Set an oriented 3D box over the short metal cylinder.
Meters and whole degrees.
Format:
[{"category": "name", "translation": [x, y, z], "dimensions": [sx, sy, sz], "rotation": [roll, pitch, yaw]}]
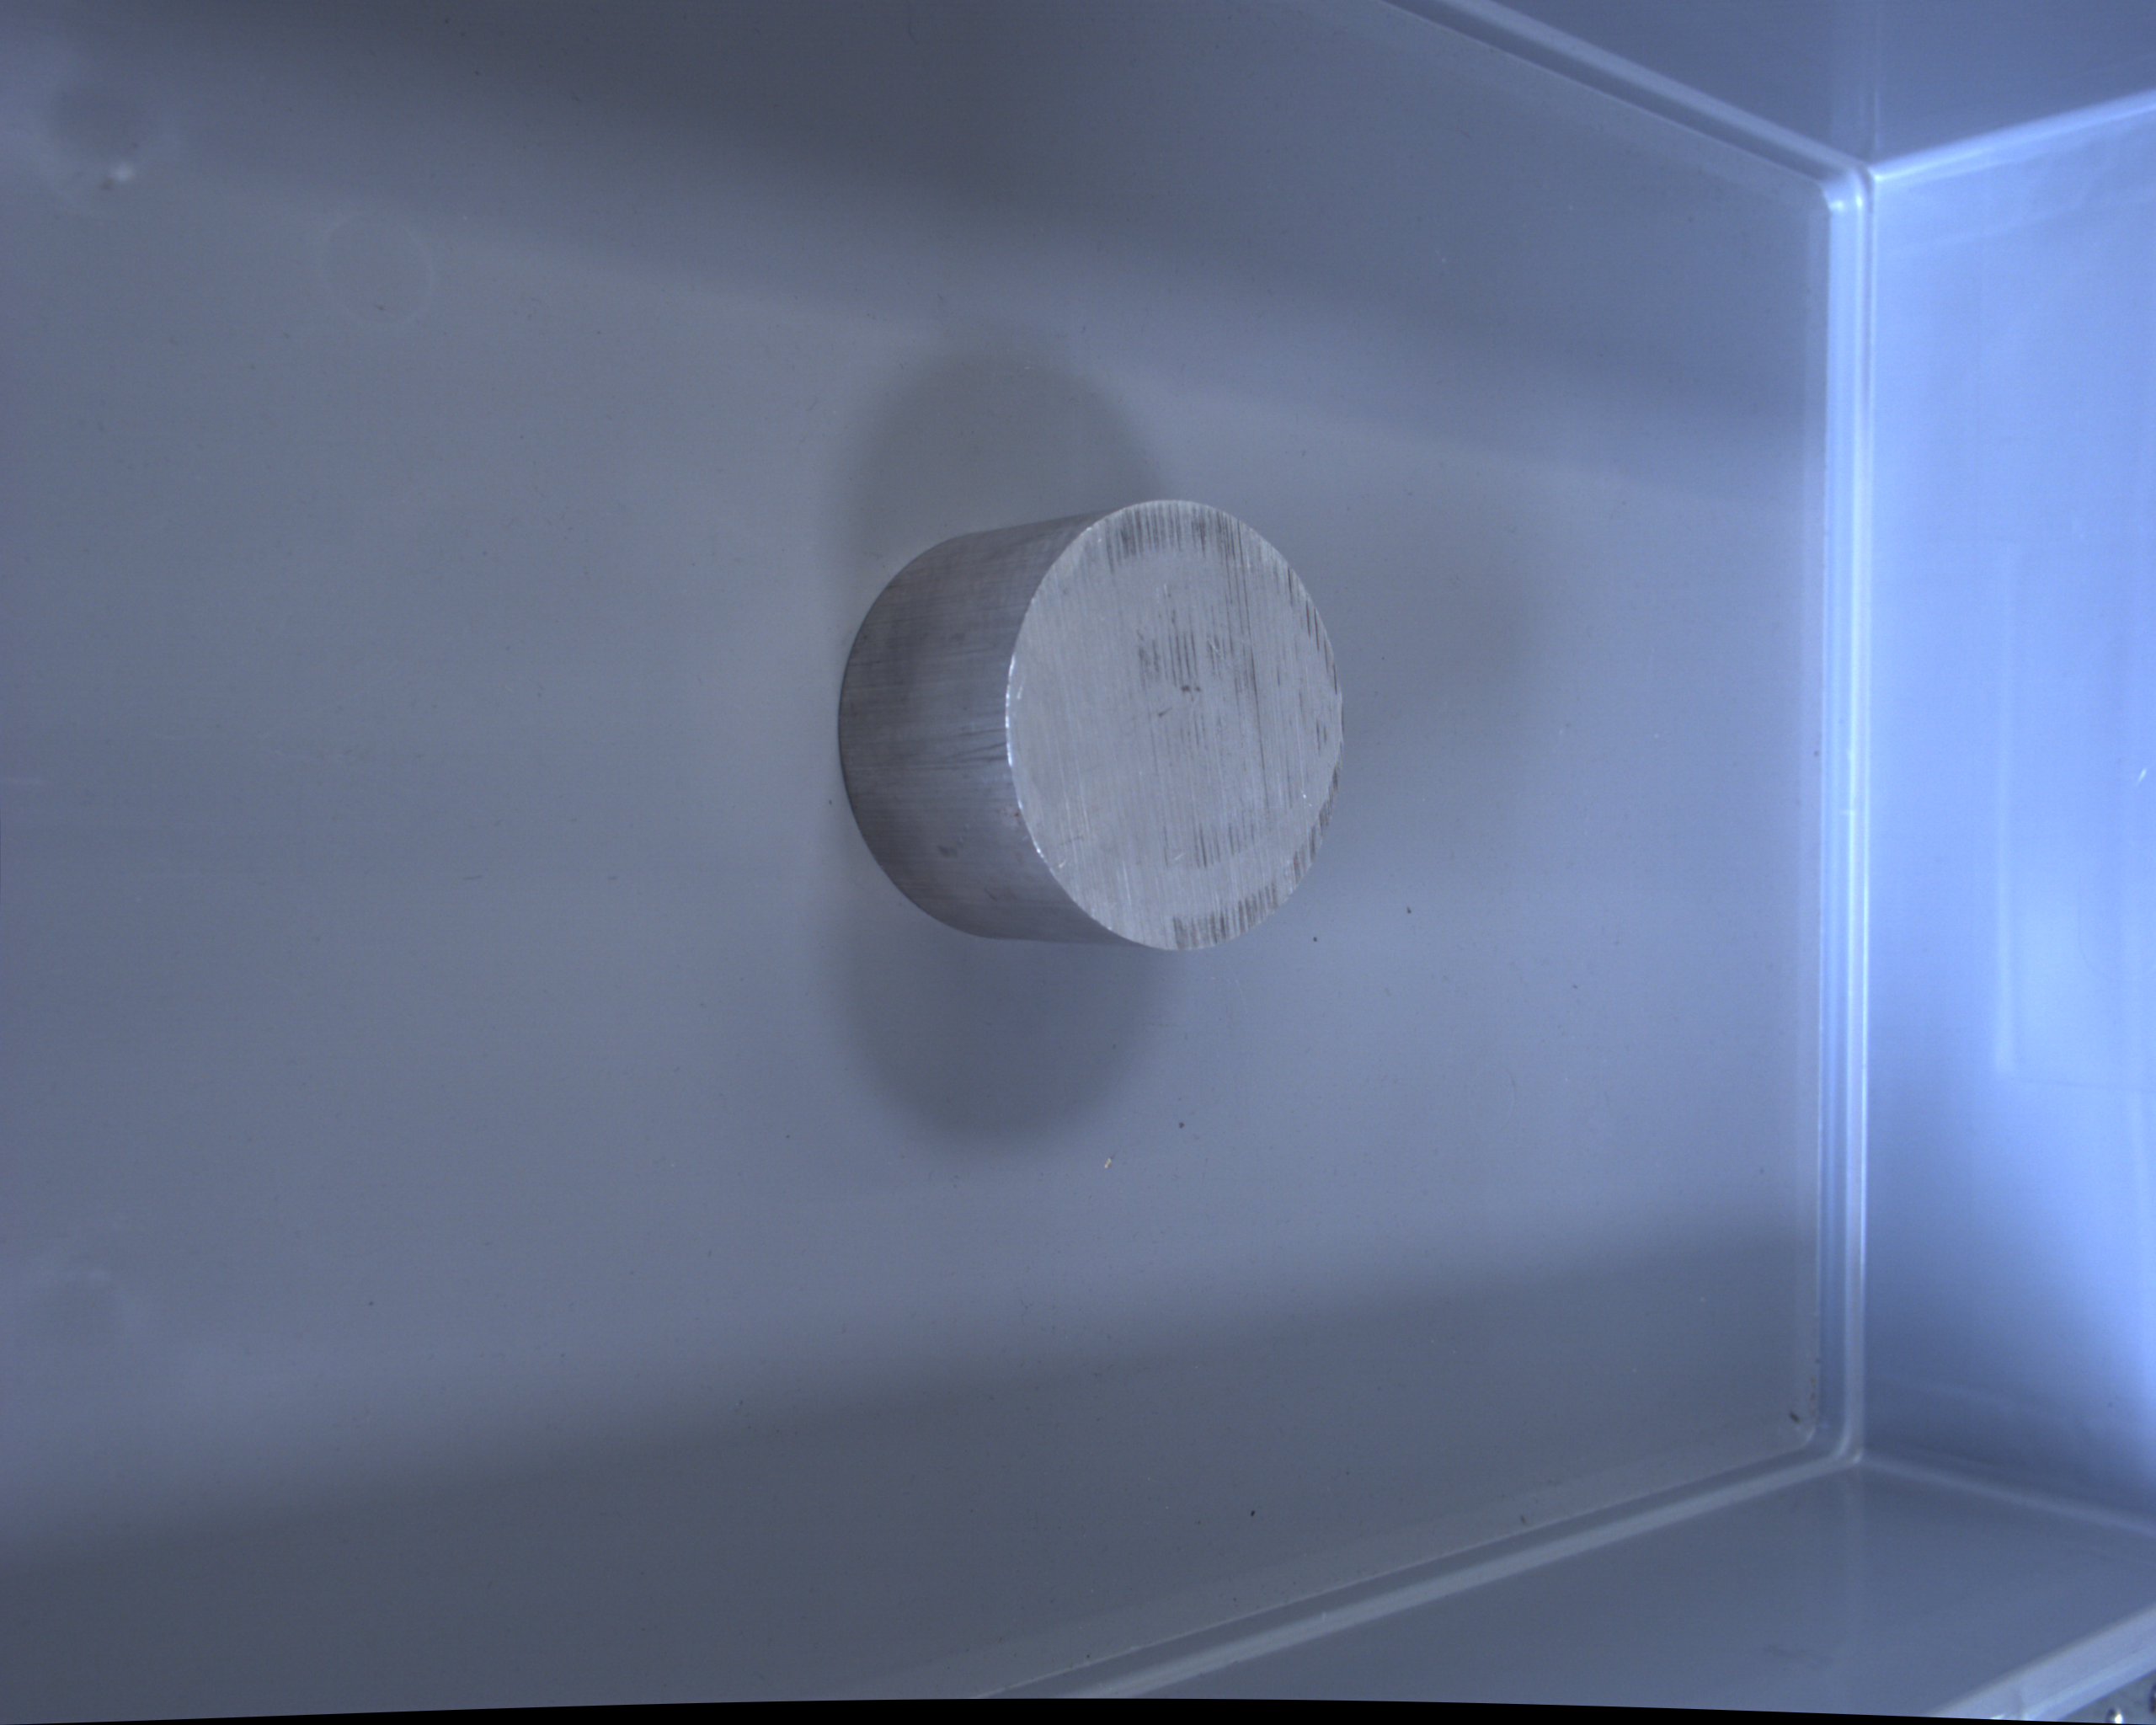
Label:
[{"category": "short metal cylinder", "translation": [0.003, -0.024, 0.389], "dimensions": [0.081, 0.050, 0.080], "rotation": [0, 90, -40]}]
